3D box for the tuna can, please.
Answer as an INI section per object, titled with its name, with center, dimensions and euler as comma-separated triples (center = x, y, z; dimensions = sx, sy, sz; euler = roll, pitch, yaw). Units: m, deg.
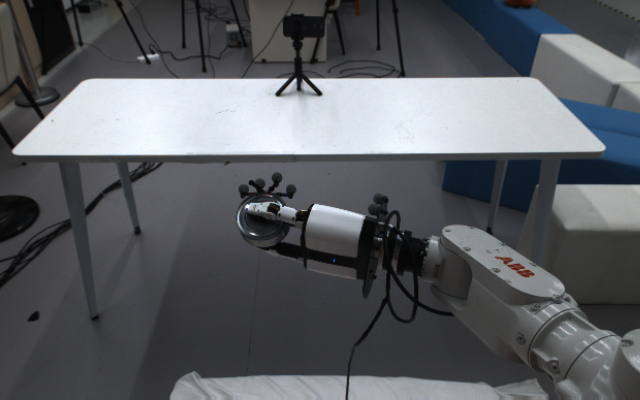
[tuna can]
center = -0.085, 0.033, 0.775
dimensions = 0.085, 0.034, 0.085
euler = -2, 57, 3
